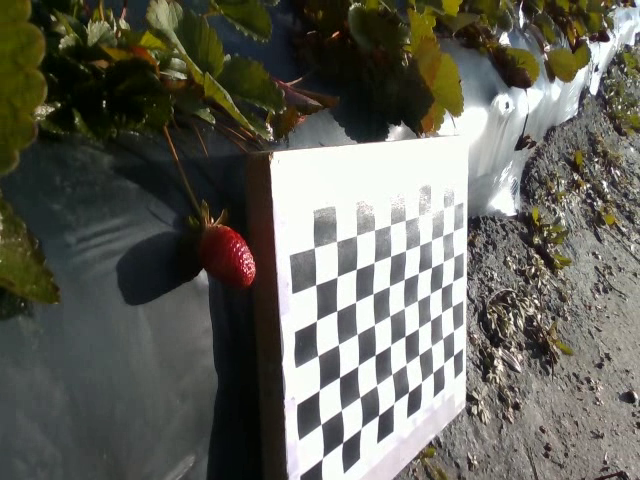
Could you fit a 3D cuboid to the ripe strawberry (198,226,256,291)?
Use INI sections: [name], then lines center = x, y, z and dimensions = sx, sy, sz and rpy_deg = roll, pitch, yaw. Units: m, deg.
[ripe strawberry]
center = -0.043, 0.011, 0.287
dimensions = 0.037, 0.033, 0.034
rpy_deg = 45, 33, 20
